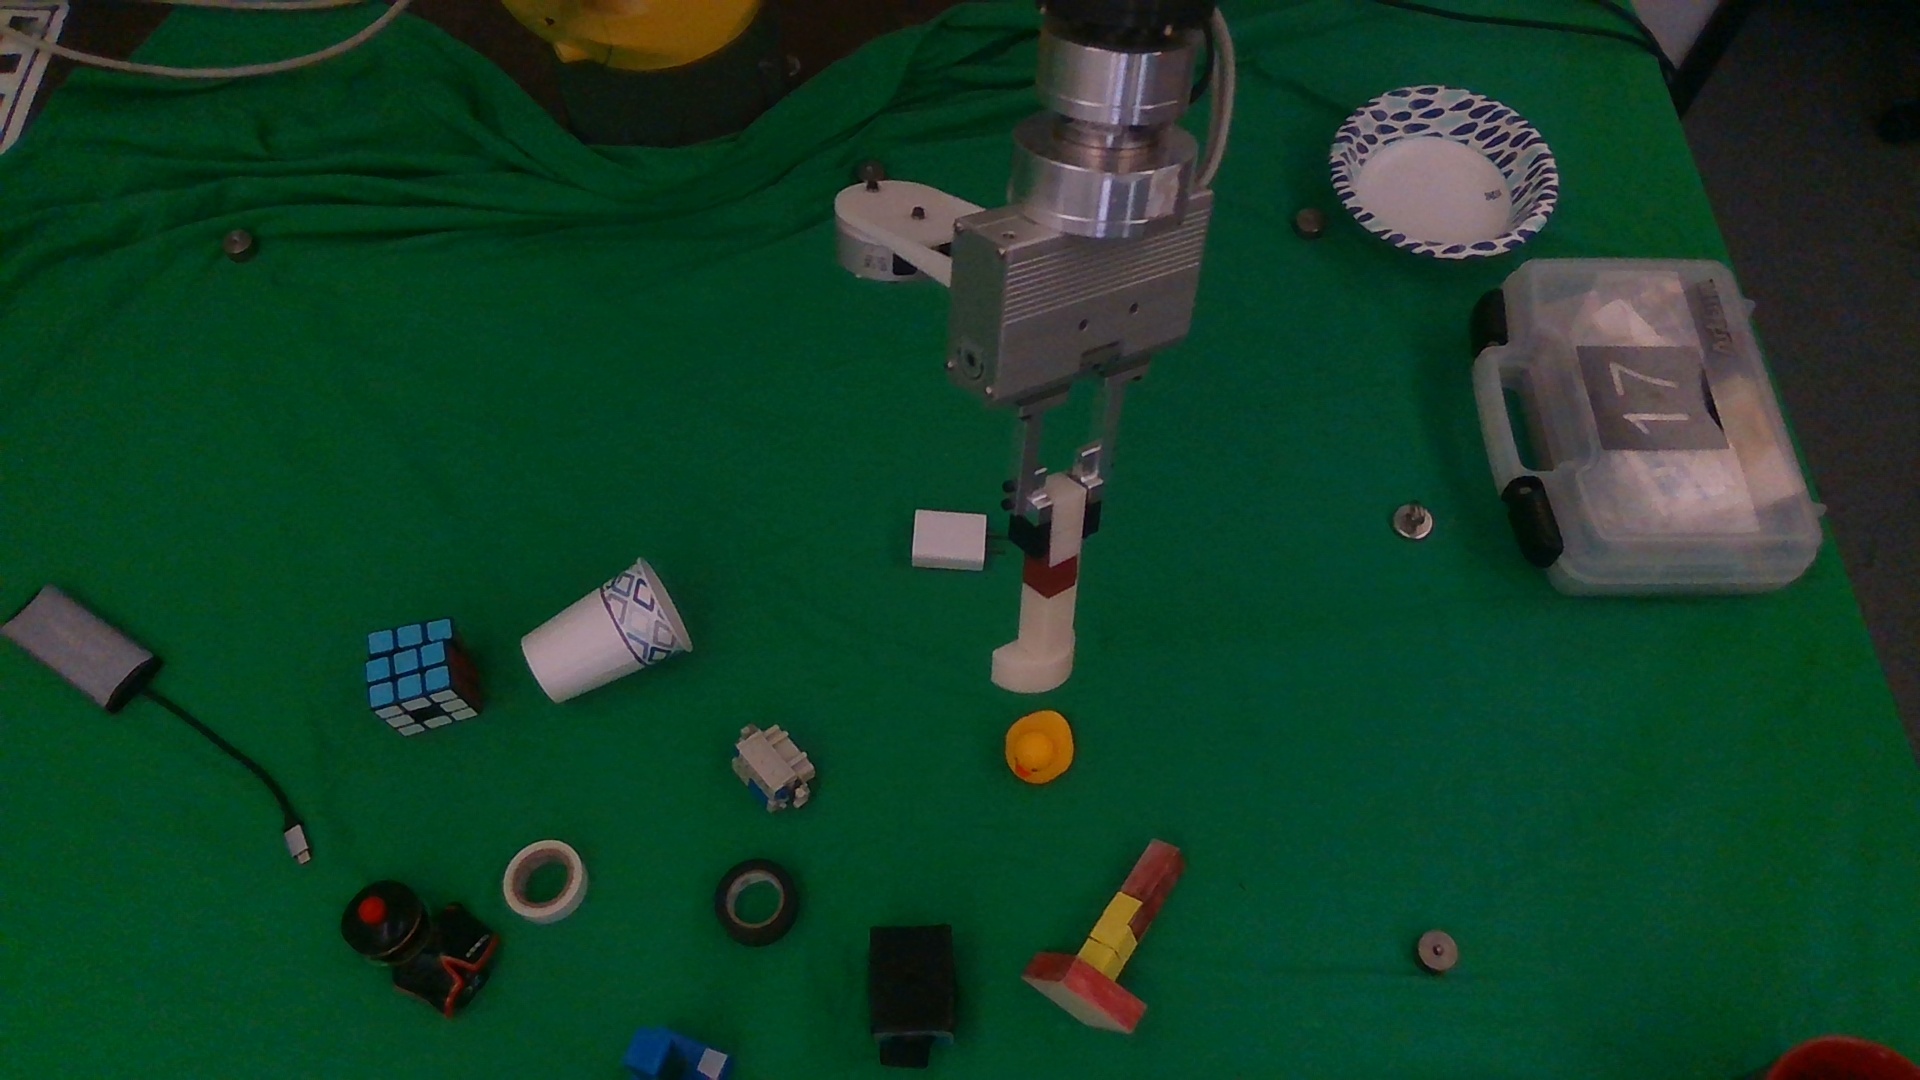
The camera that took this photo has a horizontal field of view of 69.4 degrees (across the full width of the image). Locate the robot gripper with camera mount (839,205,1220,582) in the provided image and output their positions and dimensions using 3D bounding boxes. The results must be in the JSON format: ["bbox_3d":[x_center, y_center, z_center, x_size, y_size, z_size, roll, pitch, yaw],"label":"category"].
[{"bbox_3d":[0.005,-0.090,0.673,0.118,0.158,0.194,-24,43,-30],"label":"robot gripper with camera mount"}]

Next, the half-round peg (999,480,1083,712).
[{"bbox_3d":[0.046,0.028,0.701,0.031,0.122,0.054,25,40,35],"label":"half-round peg"}]
